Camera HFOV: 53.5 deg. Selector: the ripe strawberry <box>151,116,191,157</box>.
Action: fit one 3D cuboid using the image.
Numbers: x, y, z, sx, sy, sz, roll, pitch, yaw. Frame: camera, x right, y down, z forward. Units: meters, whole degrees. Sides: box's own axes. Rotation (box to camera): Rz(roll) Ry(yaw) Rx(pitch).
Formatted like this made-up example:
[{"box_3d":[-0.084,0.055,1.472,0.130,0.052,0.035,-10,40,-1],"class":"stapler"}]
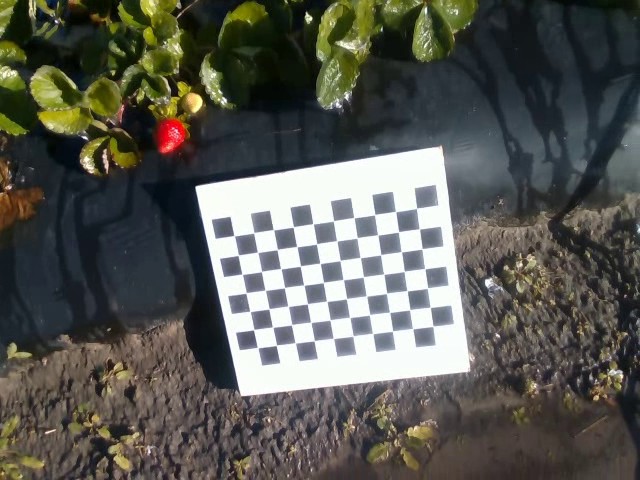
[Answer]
[{"box_3d":[-0.136,-0.091,0.568,0.039,0.040,0.039,-16,36,21],"class":"ripe strawberry"}]
